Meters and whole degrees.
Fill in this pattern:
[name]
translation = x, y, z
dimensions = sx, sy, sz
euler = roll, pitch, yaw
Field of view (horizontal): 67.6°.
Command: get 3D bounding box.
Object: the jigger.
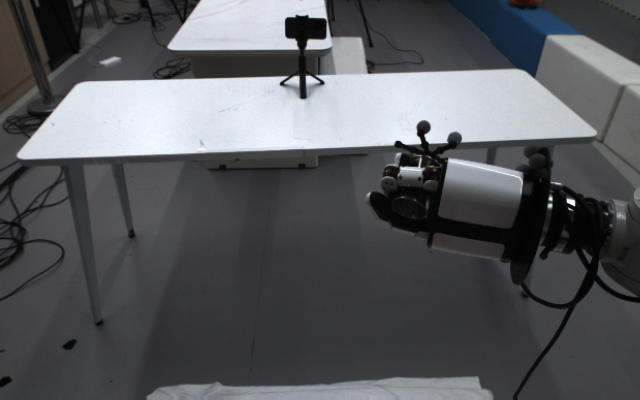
[jigger]
translation = 0.118, -0.019, 0.584
dimensions = 0.043, 0.043, 0.071
euler = 15, 58, 19
